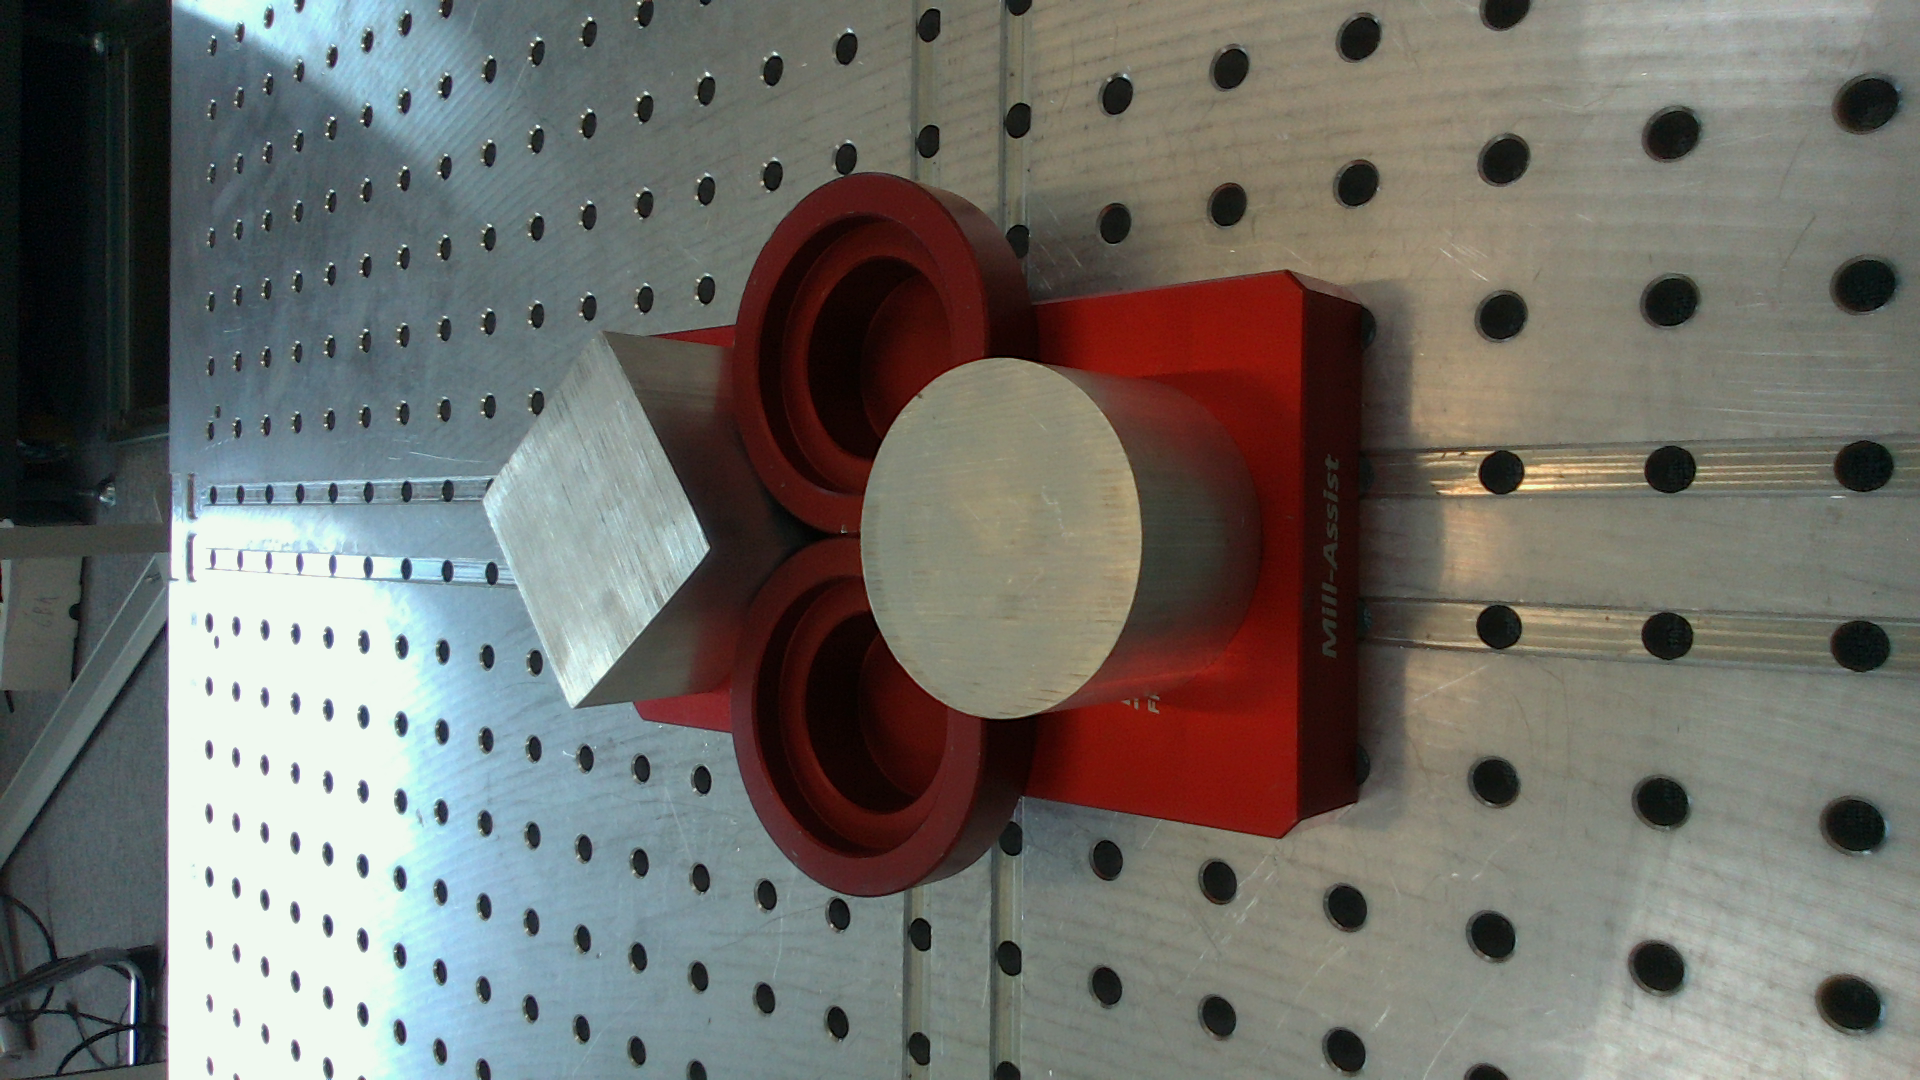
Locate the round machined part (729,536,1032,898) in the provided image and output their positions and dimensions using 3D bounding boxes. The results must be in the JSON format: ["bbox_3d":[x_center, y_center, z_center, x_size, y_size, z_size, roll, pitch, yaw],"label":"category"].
[{"bbox_3d":[-0.018,0.048,0.390,0.098,0.042,0.098,0,90,40],"label":"round machined part"}]

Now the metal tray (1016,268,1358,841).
[{"bbox_3d":[0.052,0.003,0.348,0.090,0.030,0.130,1,91,40],"label":"metal tray"}]

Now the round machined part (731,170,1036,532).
[{"bbox_3d":[-0.017,-0.051,0.389,0.098,0.042,0.098,0,90,40],"label":"round machined part"}]

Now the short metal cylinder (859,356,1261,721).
[{"bbox_3d":[0.022,0.000,0.322,0.080,0.050,0.080,0,90,40],"label":"short metal cylinder"}]

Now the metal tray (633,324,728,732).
[{"bbox_3d":[-0.068,-0.004,0.451,0.090,0.030,0.130,1,90,39],"label":"metal tray"}]

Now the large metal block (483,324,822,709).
[{"bbox_3d":[-0.093,-0.006,0.420,0.080,0.050,0.080,-45,63,31],"label":"large metal block"}]
